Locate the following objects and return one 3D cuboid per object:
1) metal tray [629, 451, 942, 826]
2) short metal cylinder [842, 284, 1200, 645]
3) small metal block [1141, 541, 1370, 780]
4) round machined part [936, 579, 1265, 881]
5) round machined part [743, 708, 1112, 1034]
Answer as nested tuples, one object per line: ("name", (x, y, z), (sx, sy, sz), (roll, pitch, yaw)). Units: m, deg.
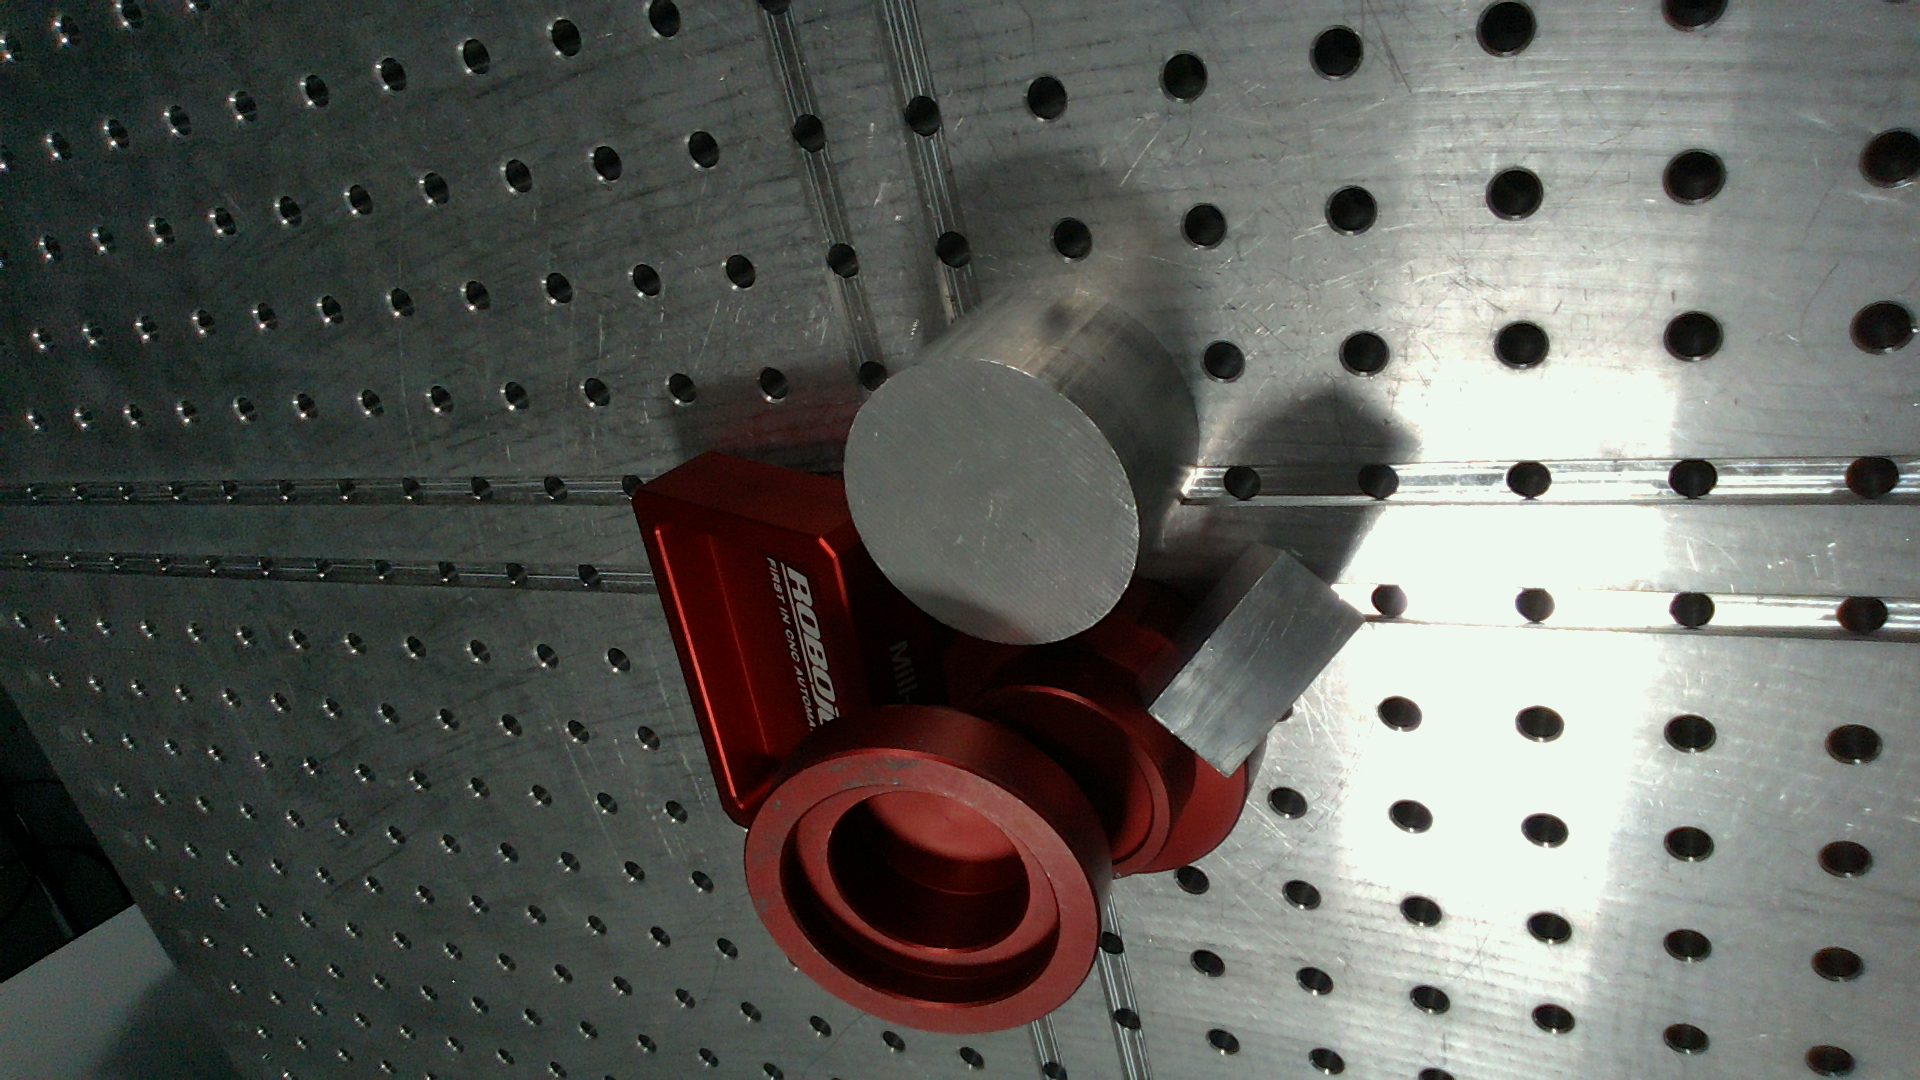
("metal tray", (-0.049, 0.042, 0.431), (0.090, 0.030, 0.130), (14, 126, 38))
("short metal cylinder", (0.017, -0.020, 0.358), (0.080, 0.050, 0.080), (13, 124, 21))
("small metal block", (0.072, 0.028, 0.346), (0.025, 0.050, 0.050), (40, 94, 1))
("round machined part", (0.036, 0.061, 0.402), (0.098, 0.042, 0.098), (13, 124, 21))
("round machined part", (-0.006, 0.086, 0.380), (0.098, 0.042, 0.098), (7, 122, 12))
